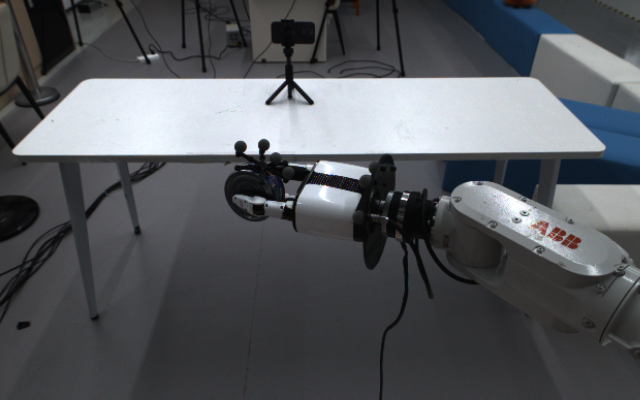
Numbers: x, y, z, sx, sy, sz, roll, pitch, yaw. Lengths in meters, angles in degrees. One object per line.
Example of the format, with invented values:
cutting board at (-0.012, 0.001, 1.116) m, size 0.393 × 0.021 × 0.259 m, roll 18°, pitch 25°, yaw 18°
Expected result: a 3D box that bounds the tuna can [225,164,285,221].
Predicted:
tuna can at (-0.094, -0.005, 0.711) m, size 0.085 × 0.085 × 0.034 m, roll 15°, pitch 30°, yaw 18°
